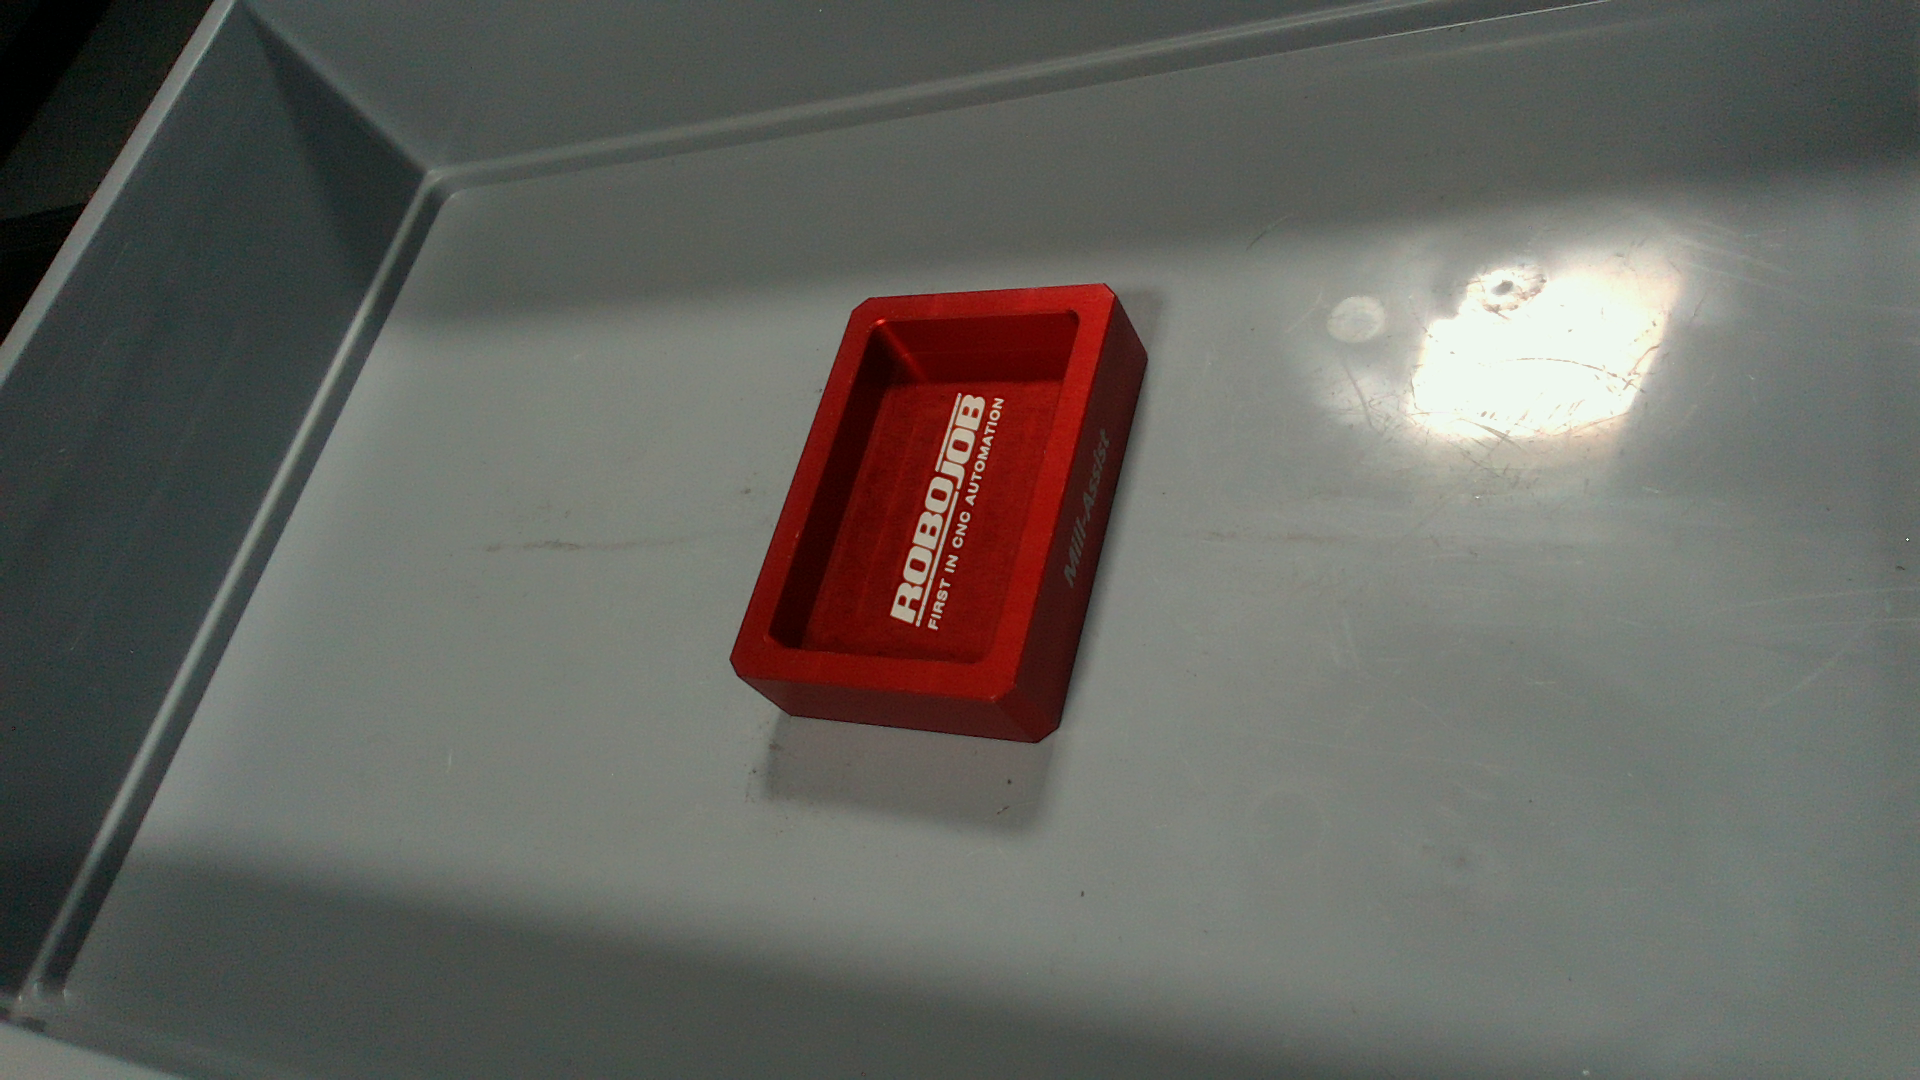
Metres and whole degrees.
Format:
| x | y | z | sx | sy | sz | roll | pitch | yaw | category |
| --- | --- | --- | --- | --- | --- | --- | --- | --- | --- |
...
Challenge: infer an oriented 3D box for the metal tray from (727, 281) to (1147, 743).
| x | y | z | sx | sy | sz | roll | pitch | yaw | category |
| --- | --- | --- | --- | --- | --- | --- | --- | --- | --- |
| -0.005 | -0.012 | 0.397 | 0.090 | 0.030 | 0.130 | 2 | 62 | 29 | metal tray |
